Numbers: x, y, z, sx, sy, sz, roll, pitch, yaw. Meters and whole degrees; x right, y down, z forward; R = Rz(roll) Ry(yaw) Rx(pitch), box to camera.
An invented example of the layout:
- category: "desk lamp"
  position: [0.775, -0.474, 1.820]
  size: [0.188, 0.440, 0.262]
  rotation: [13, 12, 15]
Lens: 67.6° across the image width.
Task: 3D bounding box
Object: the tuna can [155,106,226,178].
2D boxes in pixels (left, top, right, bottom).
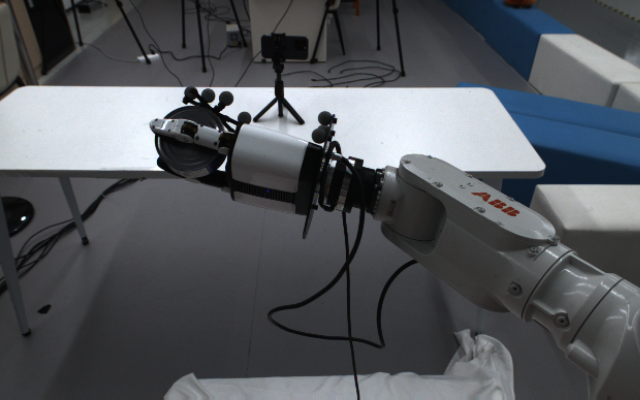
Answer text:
- category: "tuna can"
  position: [-0.158, -0.072, 0.604]
  size: [0.085, 0.034, 0.085]
  rotation: [0, 72, 0]
